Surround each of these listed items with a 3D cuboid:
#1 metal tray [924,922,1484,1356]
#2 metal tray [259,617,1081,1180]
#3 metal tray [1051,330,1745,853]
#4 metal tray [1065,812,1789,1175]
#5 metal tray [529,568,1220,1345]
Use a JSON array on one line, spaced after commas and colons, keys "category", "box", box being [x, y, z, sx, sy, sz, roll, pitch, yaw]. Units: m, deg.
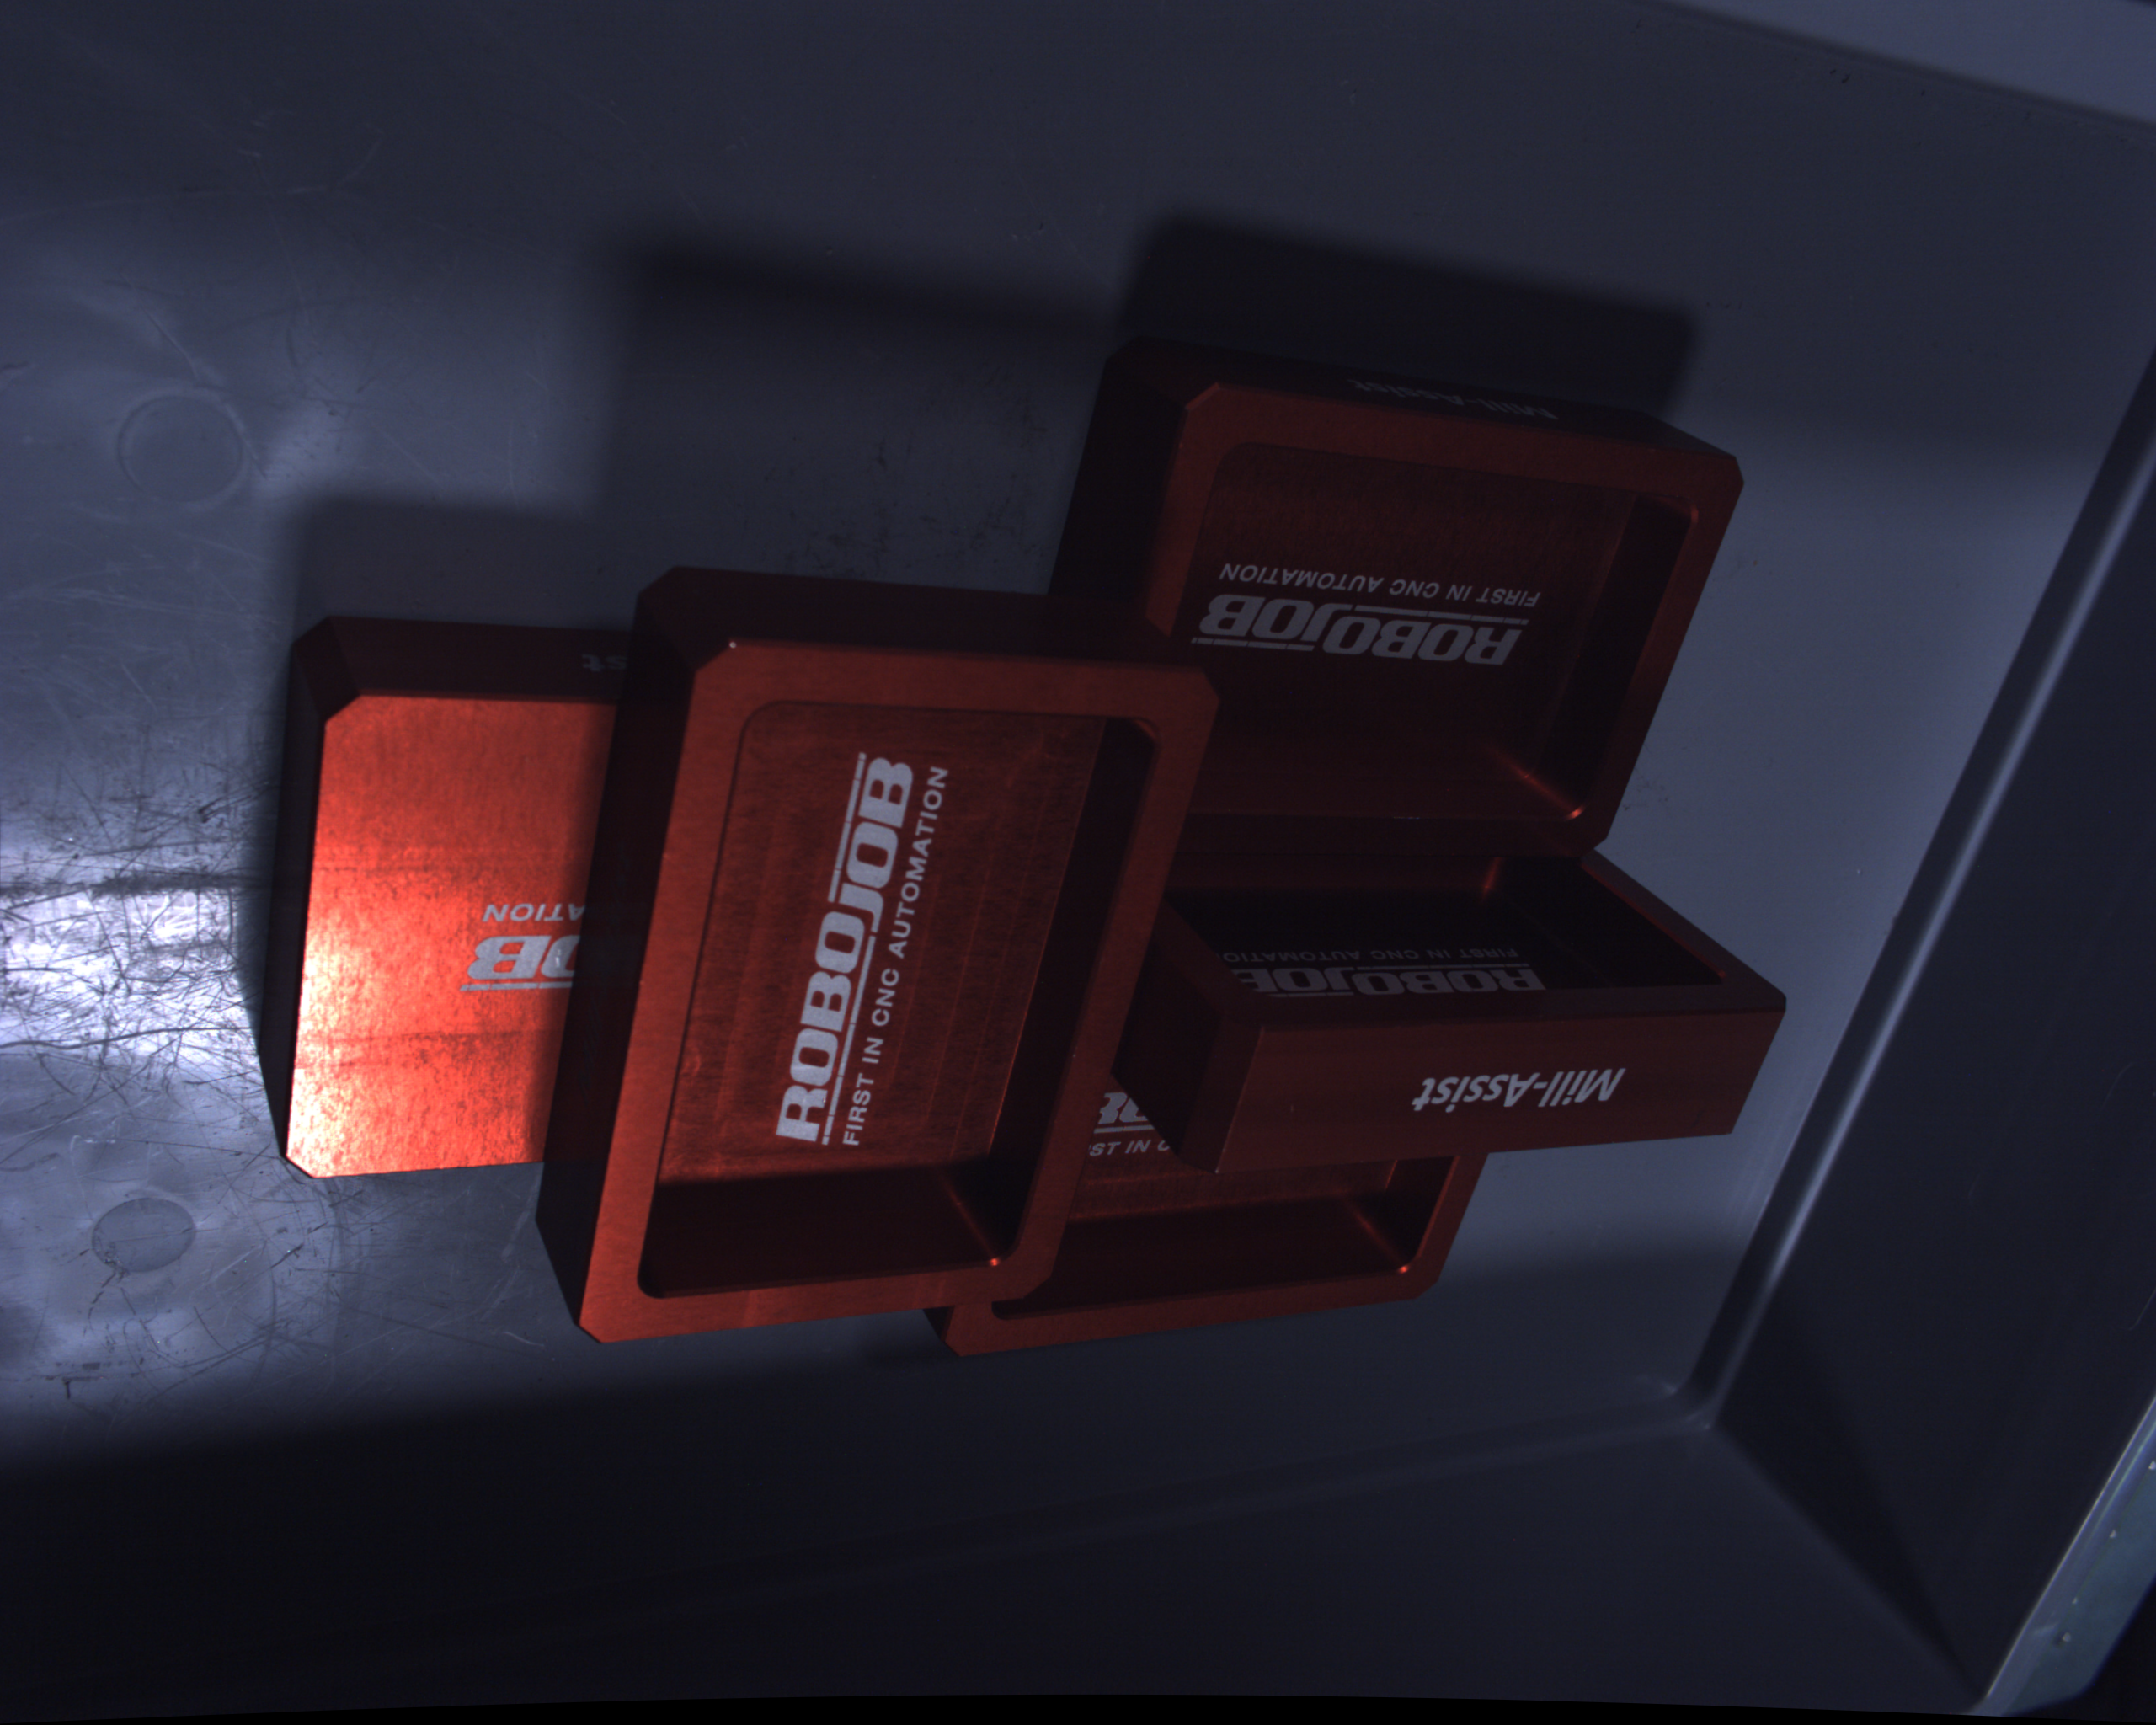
[{"category": "metal tray", "box": [0.032, 0.058, 0.458, 0.131, 0.030, 0.089, 0, 118, -29]}, {"category": "metal tray", "box": [-0.070, 0.007, 0.368, 0.131, 0.030, 0.089, 0, 118, -29]}, {"category": "metal tray", "box": [0.059, -0.048, 0.408, 0.131, 0.030, 0.089, 1, 118, -29]}, {"category": "metal tray", "box": [0.061, 0.019, 0.411, 0.131, 0.090, 0.030, 1, 118, -29]}, {"category": "metal tray", "box": [-0.037, 0.019, 0.356, 0.091, 0.030, 0.129, 1, 118, -29]}]
